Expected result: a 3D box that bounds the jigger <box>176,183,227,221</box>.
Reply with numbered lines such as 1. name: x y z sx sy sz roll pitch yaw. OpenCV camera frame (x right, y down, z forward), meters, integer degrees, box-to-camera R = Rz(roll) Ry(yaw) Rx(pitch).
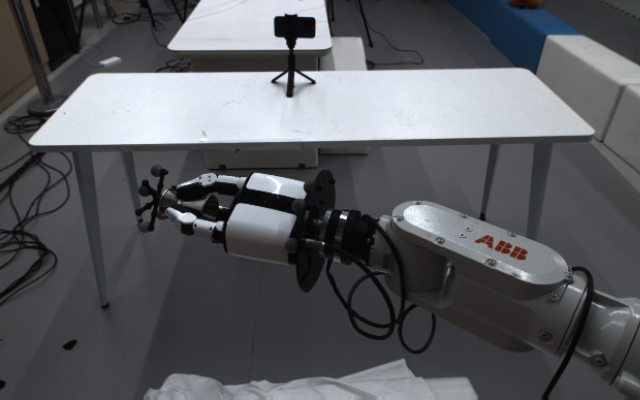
1. jigger: -0.174 0.008 0.667 0.071 0.043 0.043 11 36 15
